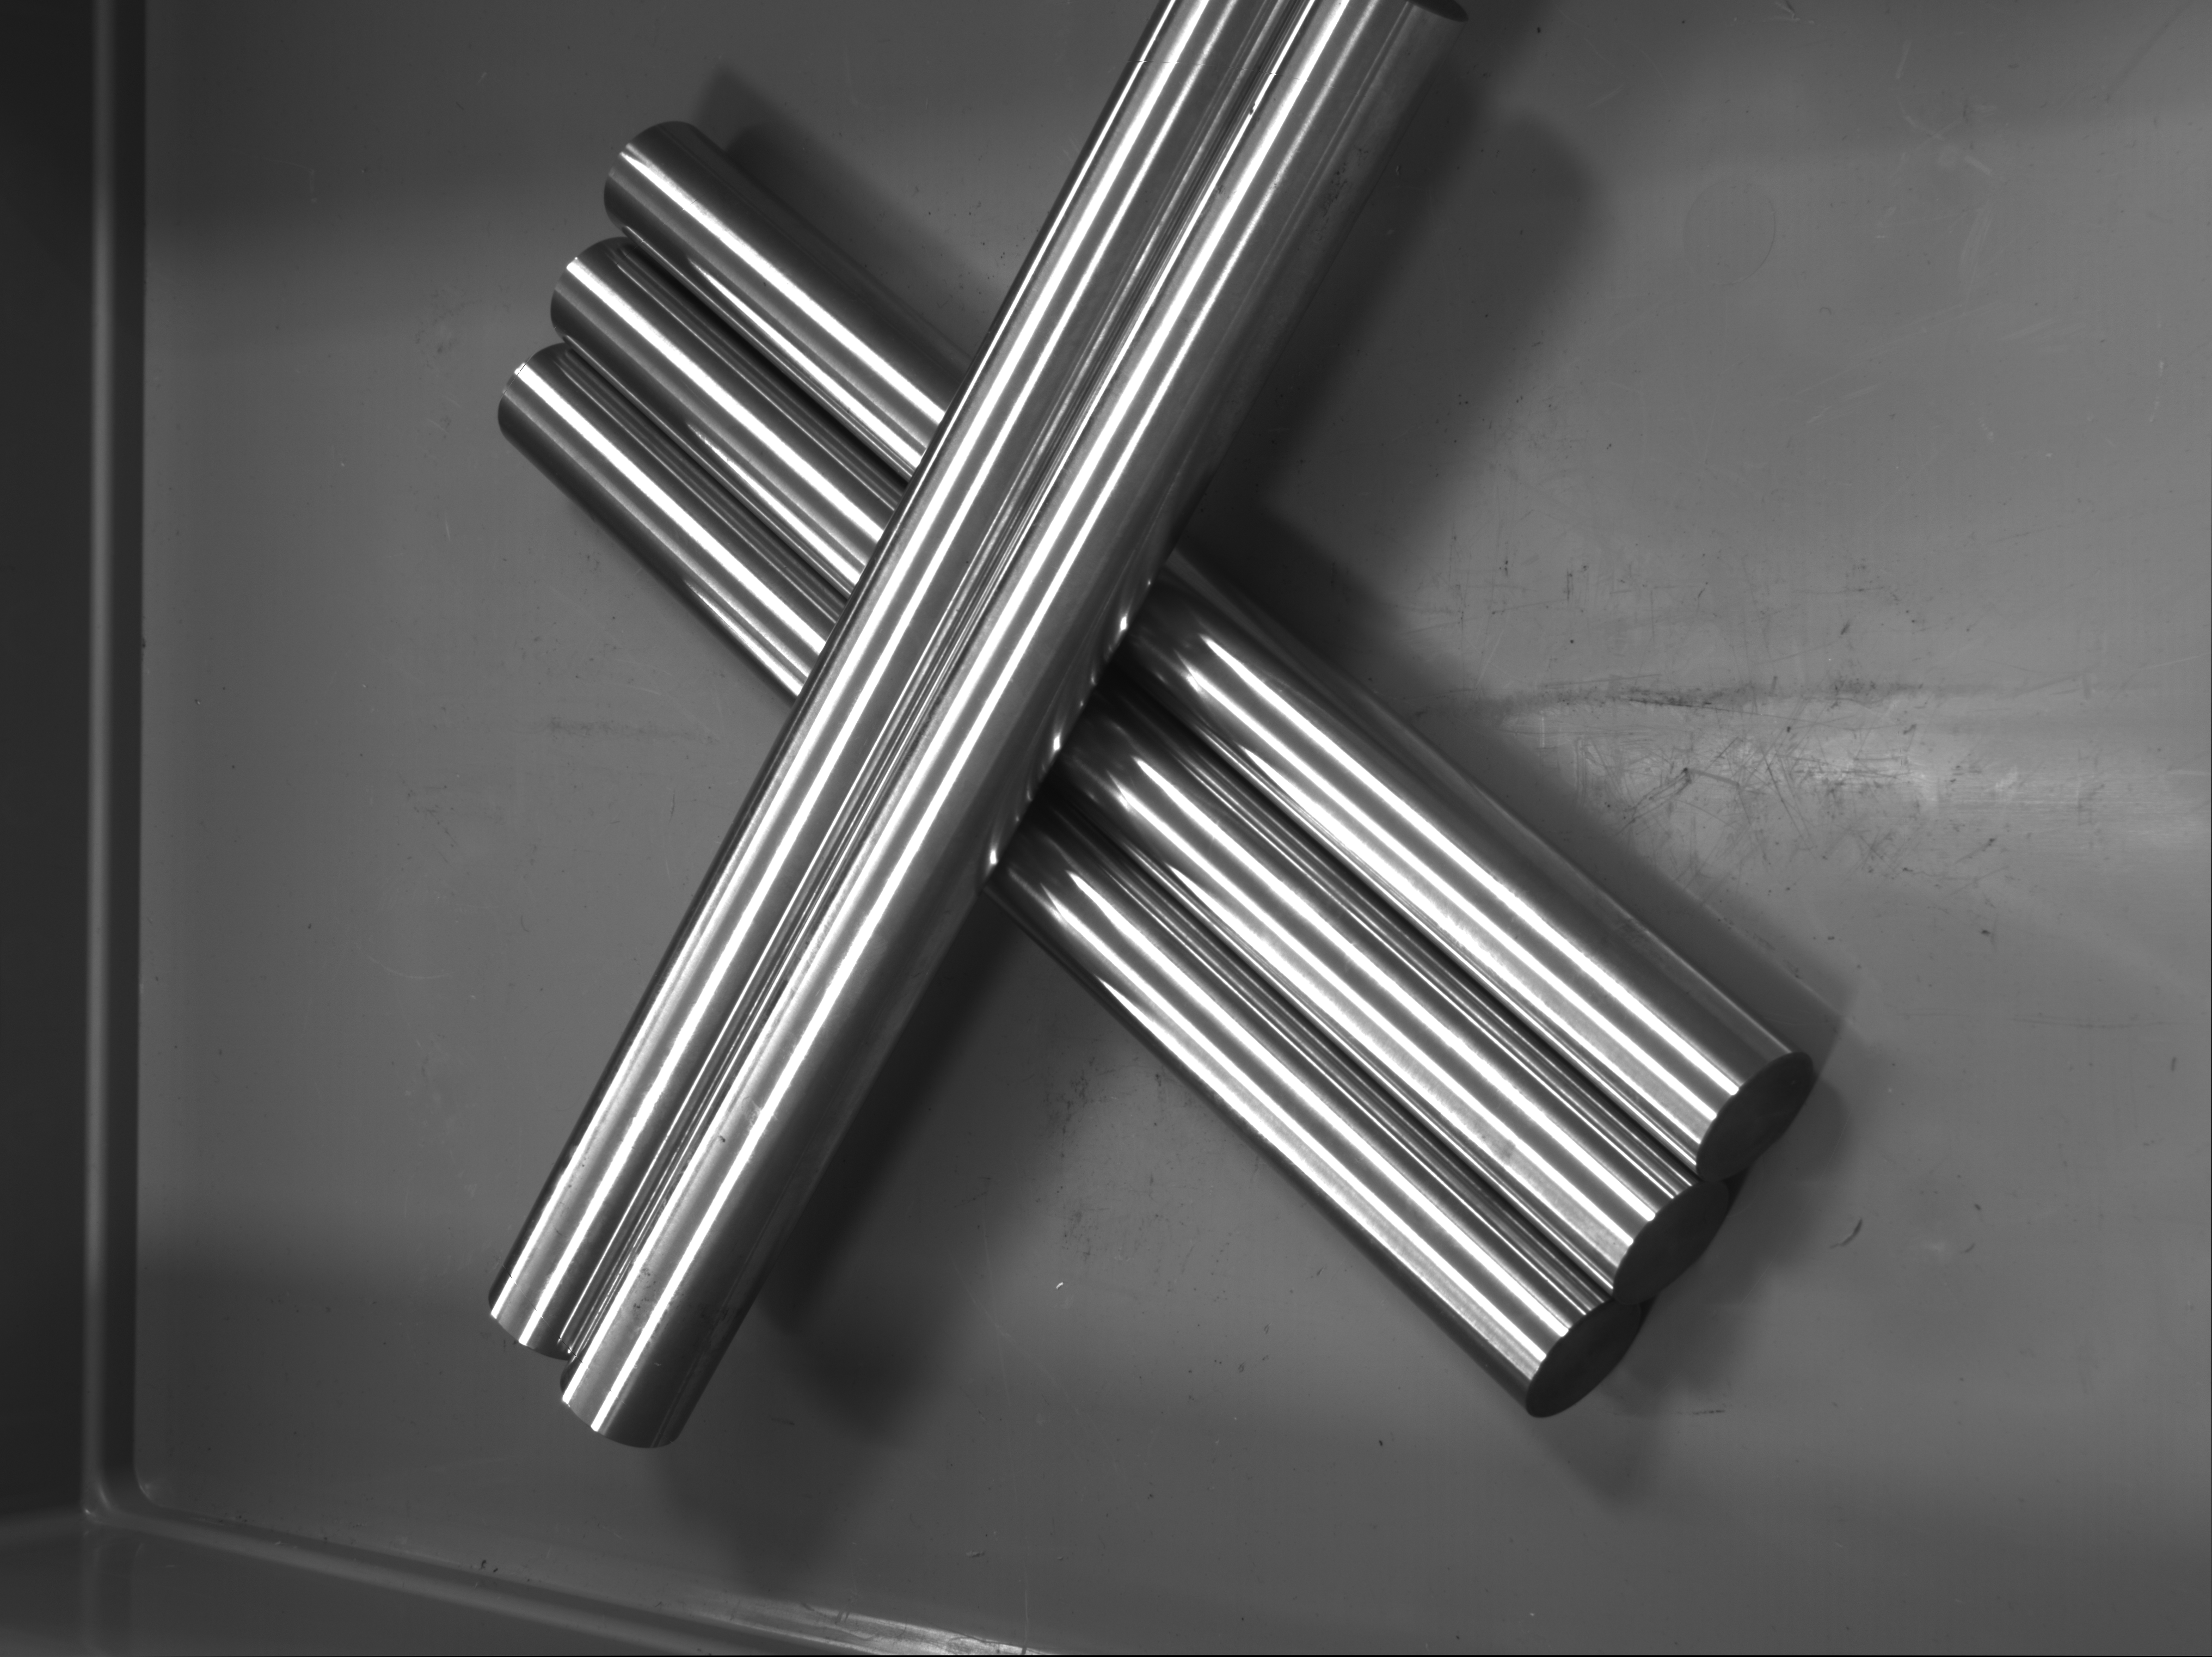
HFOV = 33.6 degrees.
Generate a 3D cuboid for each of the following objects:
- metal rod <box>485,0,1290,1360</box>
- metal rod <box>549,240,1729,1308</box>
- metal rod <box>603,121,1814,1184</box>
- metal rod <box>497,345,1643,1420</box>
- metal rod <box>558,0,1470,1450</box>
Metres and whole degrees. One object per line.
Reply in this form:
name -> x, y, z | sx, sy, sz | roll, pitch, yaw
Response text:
metal rod -> -0.039, -0.027, 0.643 | 0.025, 0.025, 0.300 | 44, 117, 31
metal rod -> -0.006, -0.021, 0.649 | 0.299, 0.025, 0.025 | 42, 116, 32
metal rod -> 0.006, -0.041, 0.639 | 0.299, 0.025, 0.025 | 42, 116, 32
metal rod -> -0.018, -0.002, 0.659 | 0.299, 0.025, 0.025 | 42, 116, 32
metal rod -> -0.023, -0.012, 0.630 | 0.025, 0.025, 0.300 | 44, 117, 31
